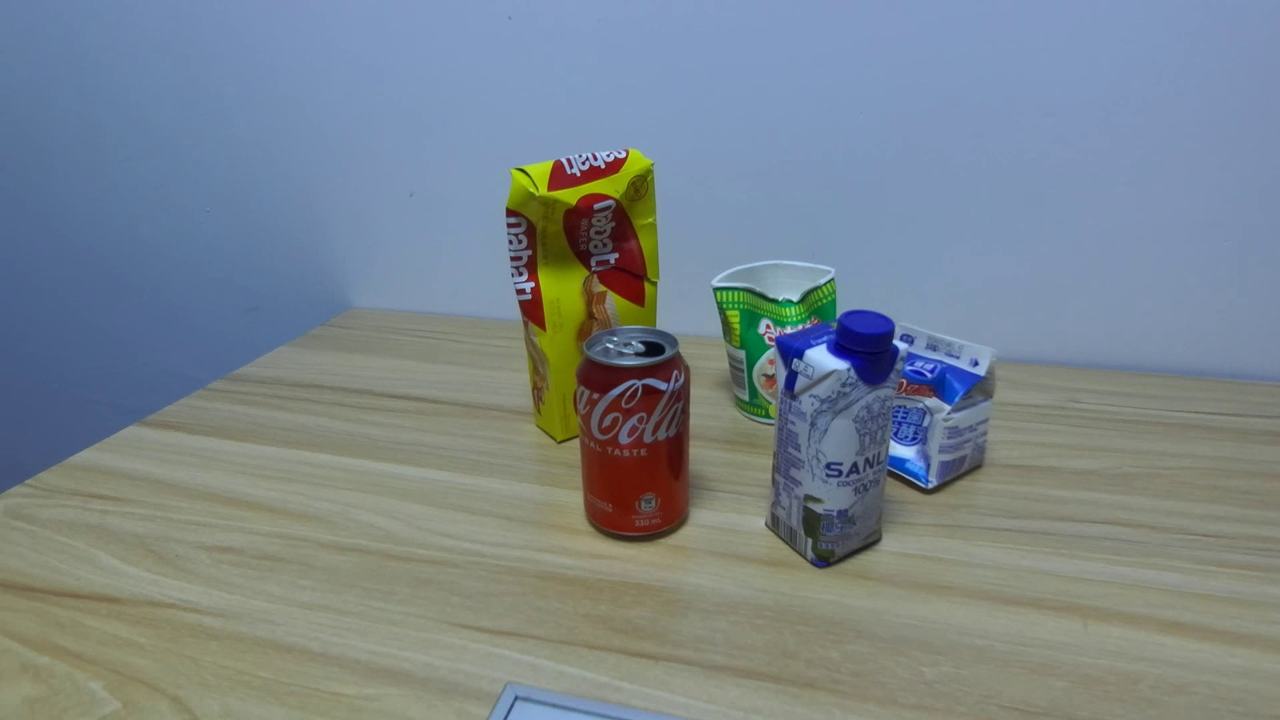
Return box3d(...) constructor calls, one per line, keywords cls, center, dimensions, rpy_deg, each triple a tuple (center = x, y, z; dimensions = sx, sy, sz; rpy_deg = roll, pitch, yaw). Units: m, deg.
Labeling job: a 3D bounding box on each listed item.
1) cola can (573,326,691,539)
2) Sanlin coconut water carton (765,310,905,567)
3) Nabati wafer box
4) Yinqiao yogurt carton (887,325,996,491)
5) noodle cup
box3d(cls="cola can", center=(-0.003, 0.043, 0.423), dimensions=(0.068, 0.120, 0.068), rpy_deg=(-1, 24, 1))
box3d(cls="Sanlin coconut water carton", center=(0.106, 0.040, 0.393), dimensions=(0.061, 0.144, 0.060), rpy_deg=(-17, 27, -29))
box3d(cls="Nabati wafer box", center=(-0.039, -0.045, 0.517), dimensions=(0.107, 0.204, 0.042), rpy_deg=(-17, 30, -31))
box3d(cls="Yinqiao yogurt carton", center=(0.194, 0.027, 0.482), dimensions=(0.071, 0.094, 0.077), rpy_deg=(-13, 28, -37))
box3d(cls="noodle cup", center=(0.112, -0.015, 0.559), dimensions=(0.082, 0.122, 0.075), rpy_deg=(0, 16, 26))
